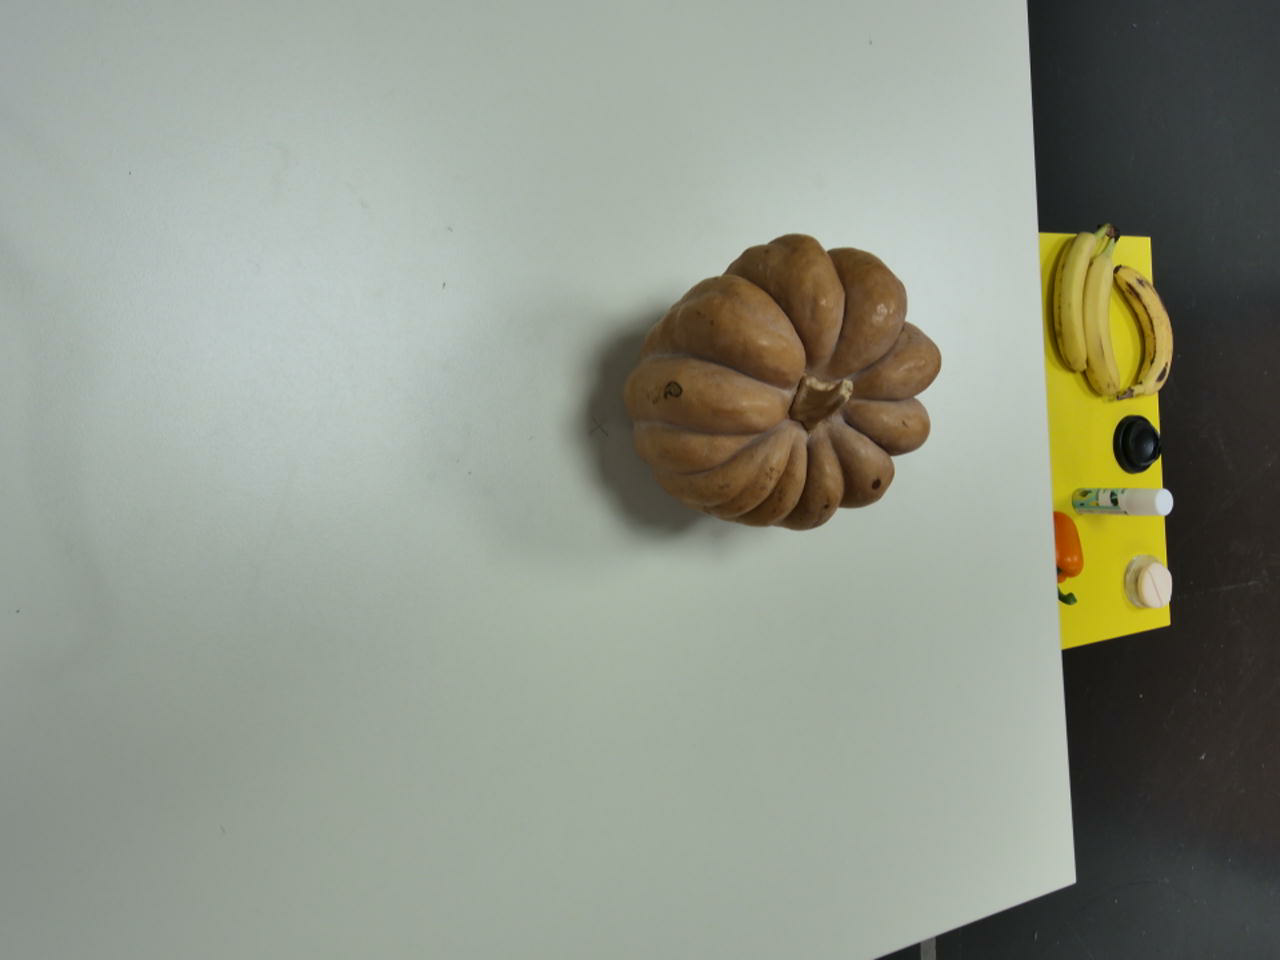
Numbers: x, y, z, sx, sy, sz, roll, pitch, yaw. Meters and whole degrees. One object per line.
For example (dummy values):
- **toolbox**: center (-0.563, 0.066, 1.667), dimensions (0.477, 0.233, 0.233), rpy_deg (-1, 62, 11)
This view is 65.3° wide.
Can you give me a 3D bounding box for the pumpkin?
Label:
- **pumpkin**: center (0.087, -0.060, 0.660), dimensions (0.198, 0.177, 0.198), rpy_deg (0, 90, -28)
